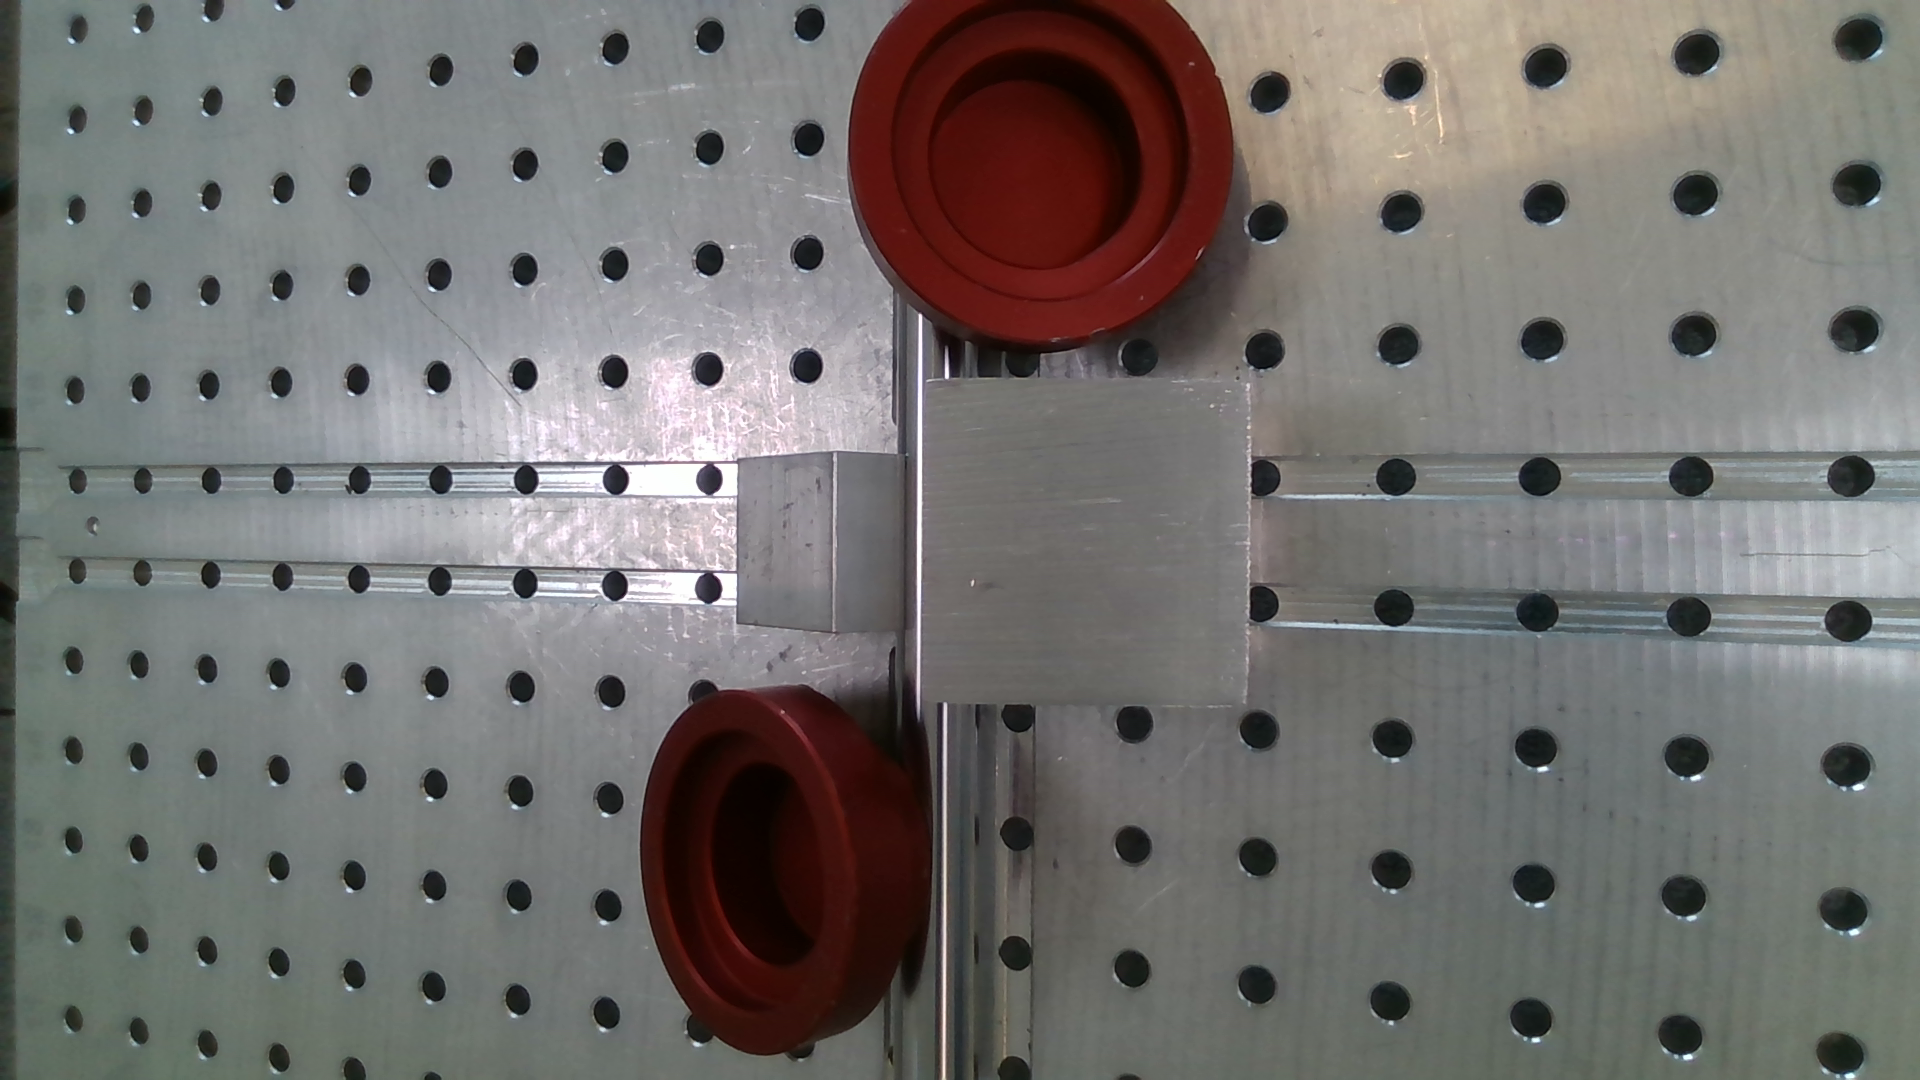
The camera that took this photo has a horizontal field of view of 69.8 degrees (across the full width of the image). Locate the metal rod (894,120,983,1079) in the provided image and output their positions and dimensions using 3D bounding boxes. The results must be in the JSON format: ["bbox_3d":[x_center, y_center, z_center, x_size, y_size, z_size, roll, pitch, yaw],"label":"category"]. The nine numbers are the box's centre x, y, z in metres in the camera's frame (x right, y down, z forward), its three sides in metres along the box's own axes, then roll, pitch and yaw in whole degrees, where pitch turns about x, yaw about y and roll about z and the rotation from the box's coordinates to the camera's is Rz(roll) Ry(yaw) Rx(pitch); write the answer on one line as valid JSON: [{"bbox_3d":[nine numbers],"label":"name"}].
[{"bbox_3d":[-0.006,0.010,0.400,0.025,0.025,0.300,1,91,20],"label":"metal rod"}]

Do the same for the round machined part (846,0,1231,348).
[{"bbox_3d":[0.018,-0.099,0.366,0.098,0.042,0.098,0,90,-6],"label":"round machined part"}]

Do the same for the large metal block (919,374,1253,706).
[{"bbox_3d":[0.031,0.000,0.360,0.080,0.050,0.080,1,91,2],"label":"large metal block"}]

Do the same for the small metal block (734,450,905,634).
[{"bbox_3d":[-0.042,0.000,0.401,0.050,0.025,0.050,1,91,49],"label":"small metal block"}]

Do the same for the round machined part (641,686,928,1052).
[{"bbox_3d":[-0.047,0.090,0.392,0.098,0.042,0.098,0,90,45],"label":"round machined part"}]
